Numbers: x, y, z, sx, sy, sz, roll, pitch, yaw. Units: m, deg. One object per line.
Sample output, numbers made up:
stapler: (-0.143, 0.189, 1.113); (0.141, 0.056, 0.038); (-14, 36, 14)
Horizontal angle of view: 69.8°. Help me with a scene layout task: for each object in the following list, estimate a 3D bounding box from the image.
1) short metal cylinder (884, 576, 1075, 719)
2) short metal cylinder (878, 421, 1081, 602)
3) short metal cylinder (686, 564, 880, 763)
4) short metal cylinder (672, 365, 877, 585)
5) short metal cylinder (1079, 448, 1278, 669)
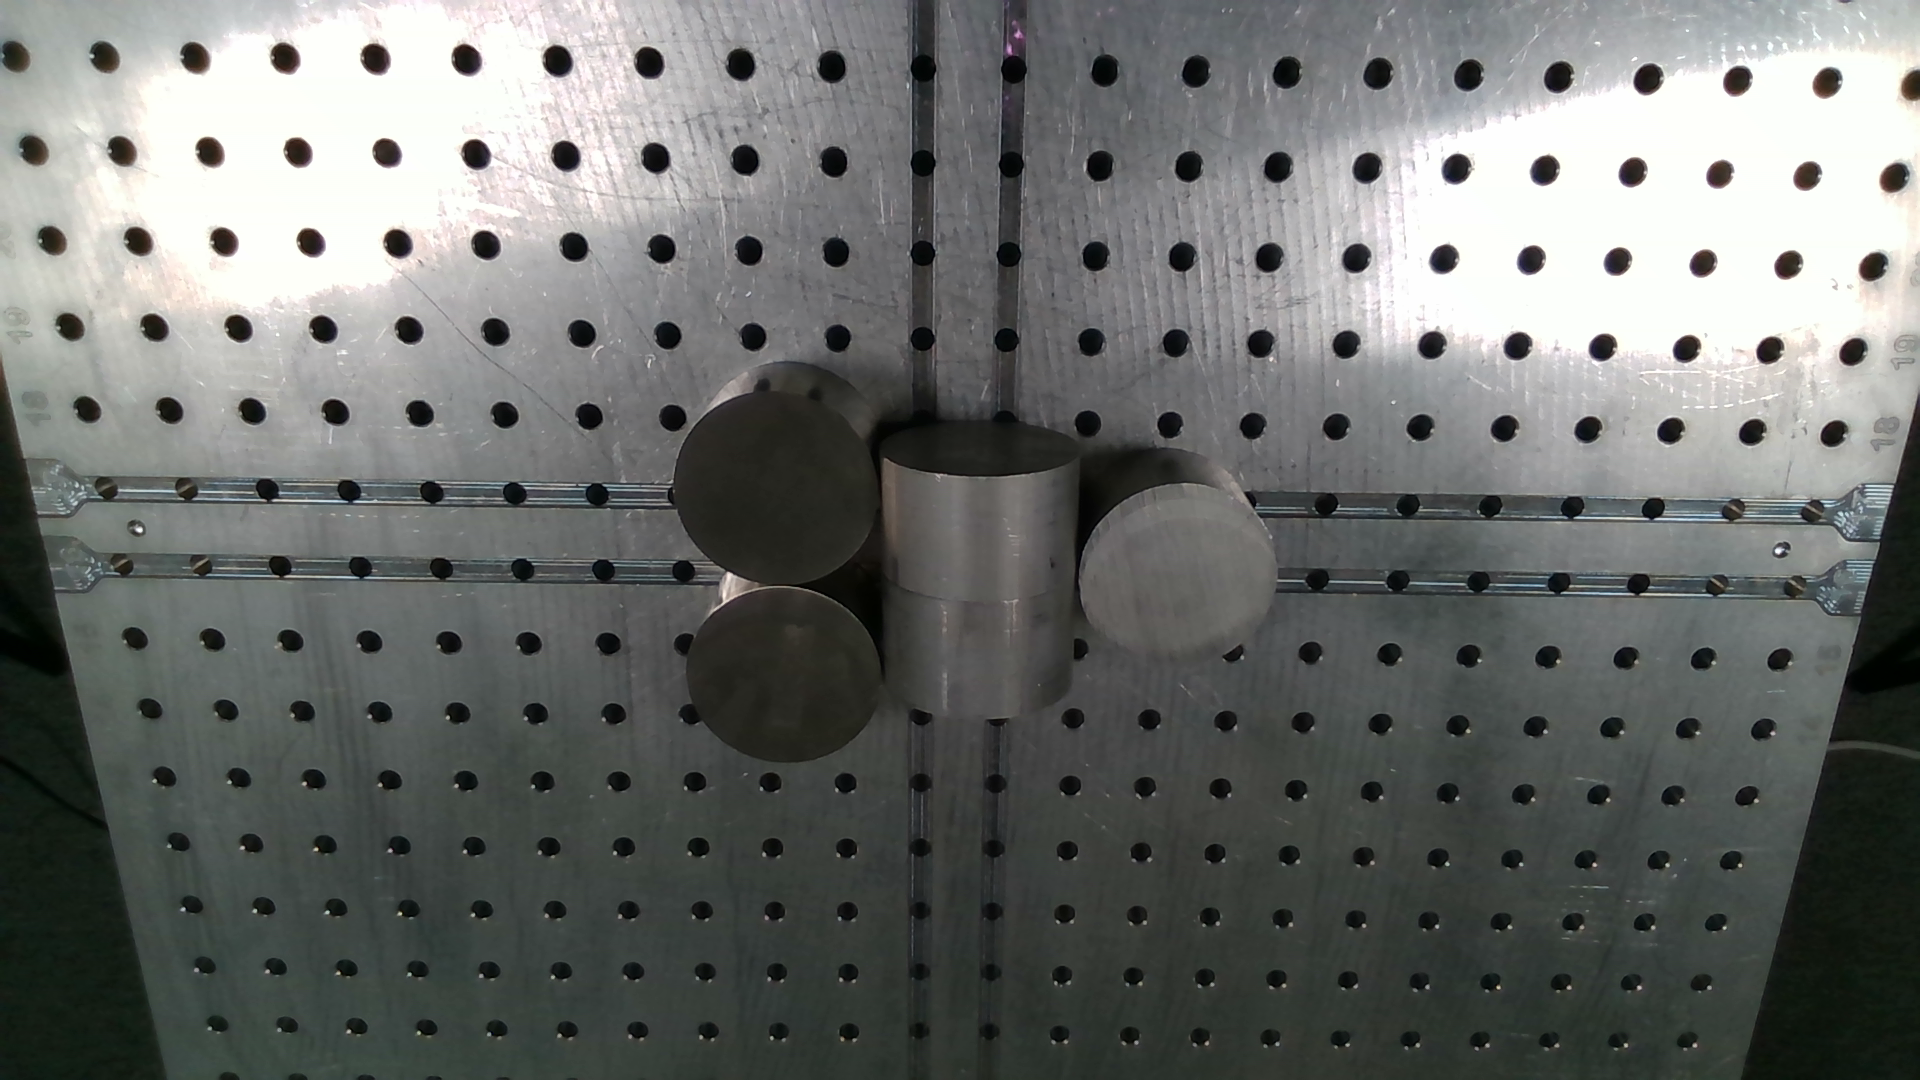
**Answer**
short metal cylinder: (0.008, 0.033, 0.571); (0.080, 0.080, 0.050); (0, 110, 0)
short metal cylinder: (0.007, -0.014, 0.553); (0.080, 0.080, 0.050); (0, 110, 0)
short metal cylinder: (-0.073, 0.048, 0.590); (0.080, 0.050, 0.080); (0, 110, 0)
short metal cylinder: (-0.073, -0.028, 0.563); (0.080, 0.050, 0.080); (0, 110, 0)
short metal cylinder: (0.087, 0.007, 0.576); (0.080, 0.050, 0.080); (0, 110, 0)
